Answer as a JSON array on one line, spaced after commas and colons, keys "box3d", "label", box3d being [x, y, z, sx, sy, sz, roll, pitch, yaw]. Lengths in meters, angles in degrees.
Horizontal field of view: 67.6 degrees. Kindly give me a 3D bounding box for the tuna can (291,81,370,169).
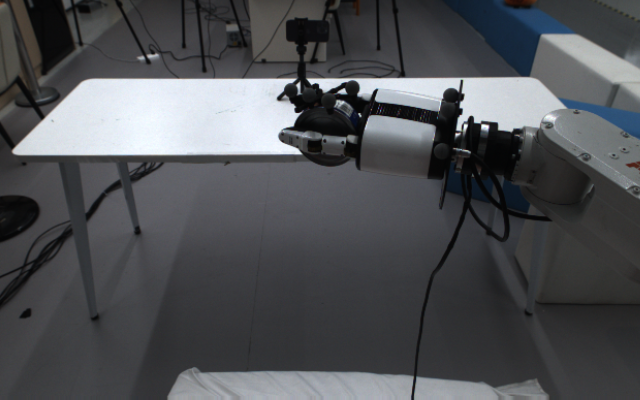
[{"box3d": [0.012, -0.089, 0.625, 0.085, 0.085, 0.034, 11, 39, 13], "label": "tuna can"}]
